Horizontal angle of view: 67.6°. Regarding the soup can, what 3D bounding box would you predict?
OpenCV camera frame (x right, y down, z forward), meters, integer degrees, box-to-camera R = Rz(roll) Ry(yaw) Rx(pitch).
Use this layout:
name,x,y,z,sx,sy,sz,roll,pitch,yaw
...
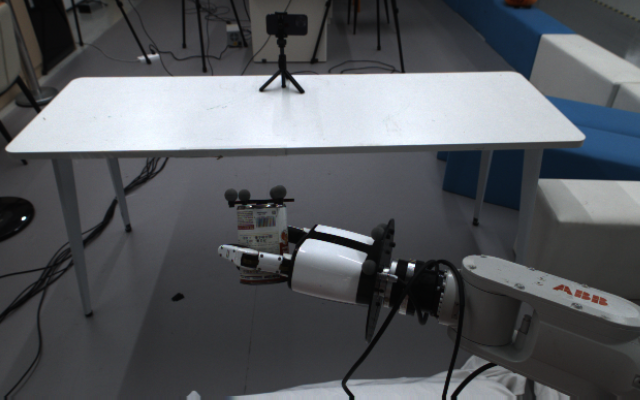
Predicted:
name,x,y,z,sx,sy,sz,roll,pitch,yaw
soup can,-0.074,0.058,0.642,0.067,0.101,0.067,-3,-1,0
